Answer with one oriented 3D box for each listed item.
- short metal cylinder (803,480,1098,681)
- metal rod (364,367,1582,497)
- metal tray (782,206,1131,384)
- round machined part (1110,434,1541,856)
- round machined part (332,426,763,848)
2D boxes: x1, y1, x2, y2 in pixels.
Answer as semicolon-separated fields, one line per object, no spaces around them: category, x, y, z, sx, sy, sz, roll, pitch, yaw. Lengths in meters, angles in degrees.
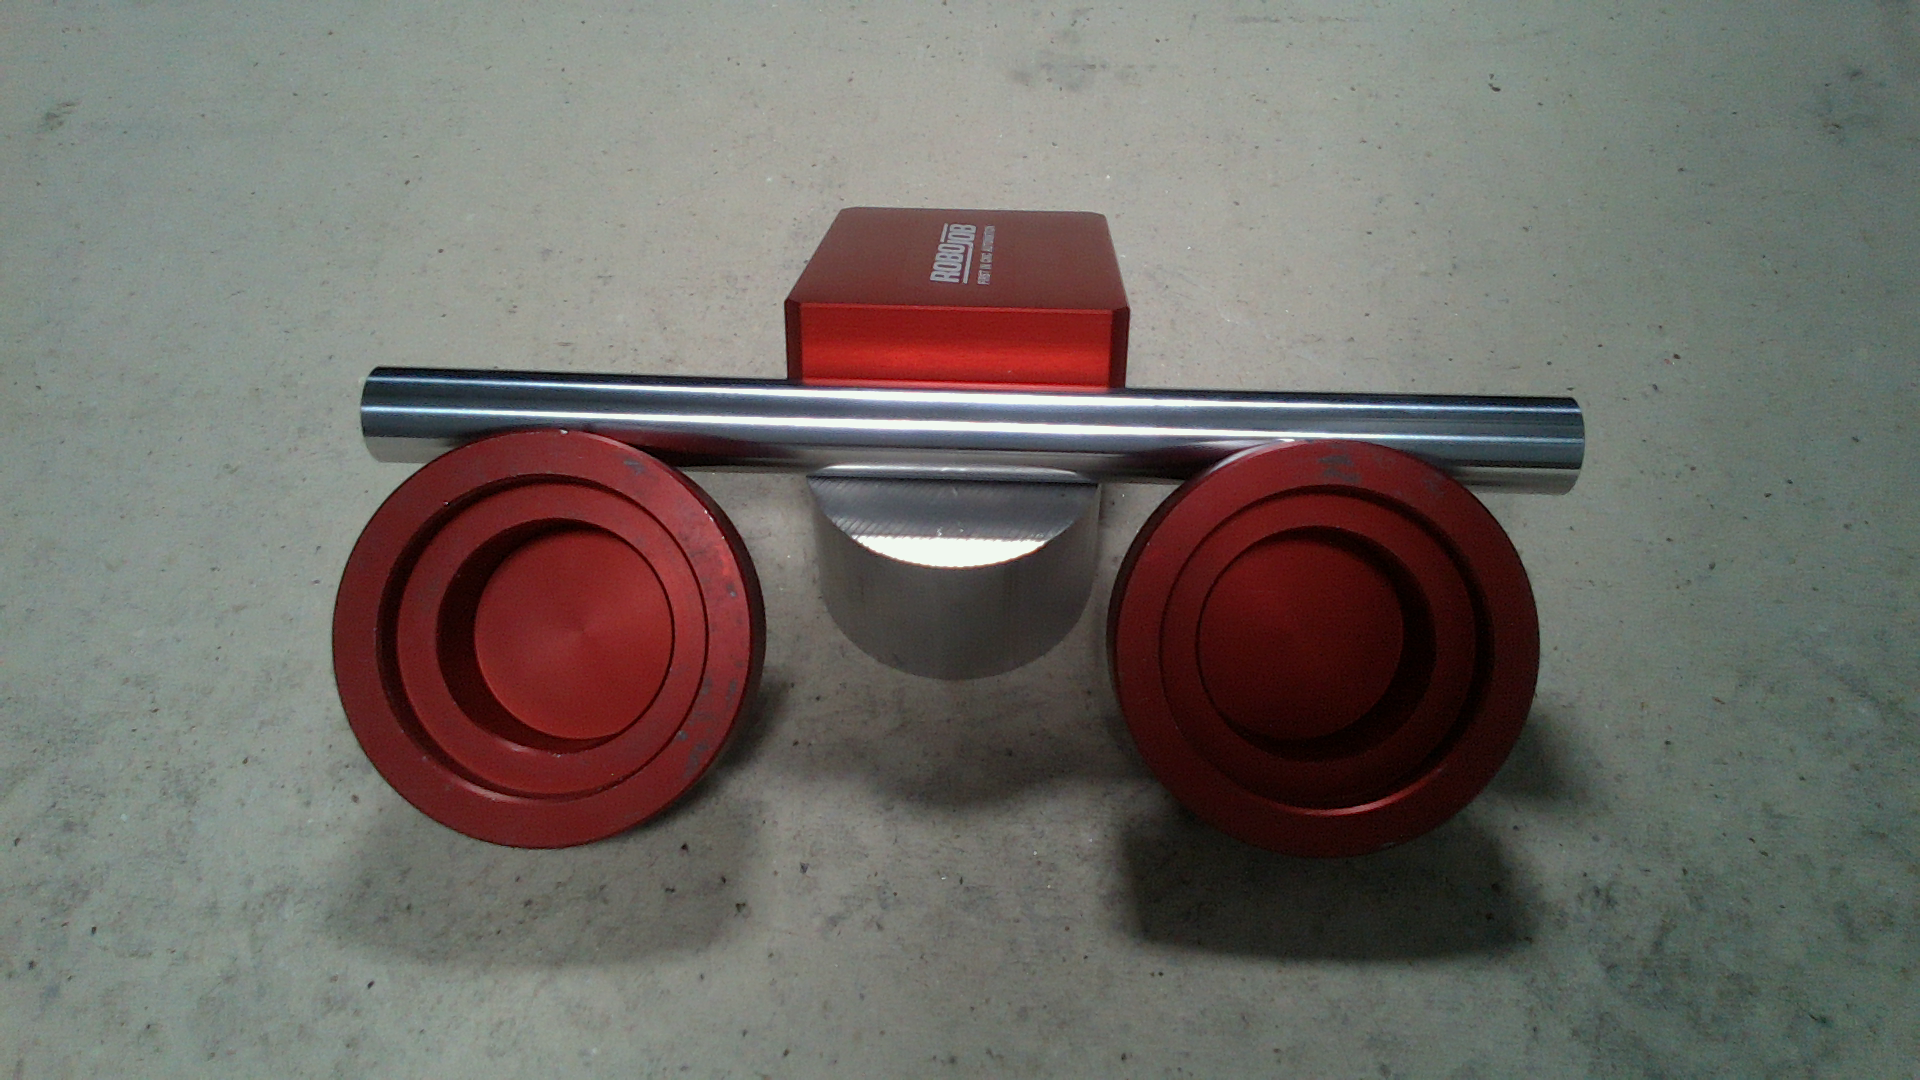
short metal cylinder;-0.002;-0.008;0.383;0.080;0.050;0.080;0;50;0
metal rod;0.002;-0.028;0.351;0.300;0.025;0.025;2;50;1
metal tray;0.001;-0.073;0.415;0.090;0.030;0.130;2;24;2
round machined part;0.085;0.024;0.338;0.098;0.042;0.098;0;92;1
round machined part;-0.097;0.023;0.340;0.098;0.042;0.098;0;88;-1
